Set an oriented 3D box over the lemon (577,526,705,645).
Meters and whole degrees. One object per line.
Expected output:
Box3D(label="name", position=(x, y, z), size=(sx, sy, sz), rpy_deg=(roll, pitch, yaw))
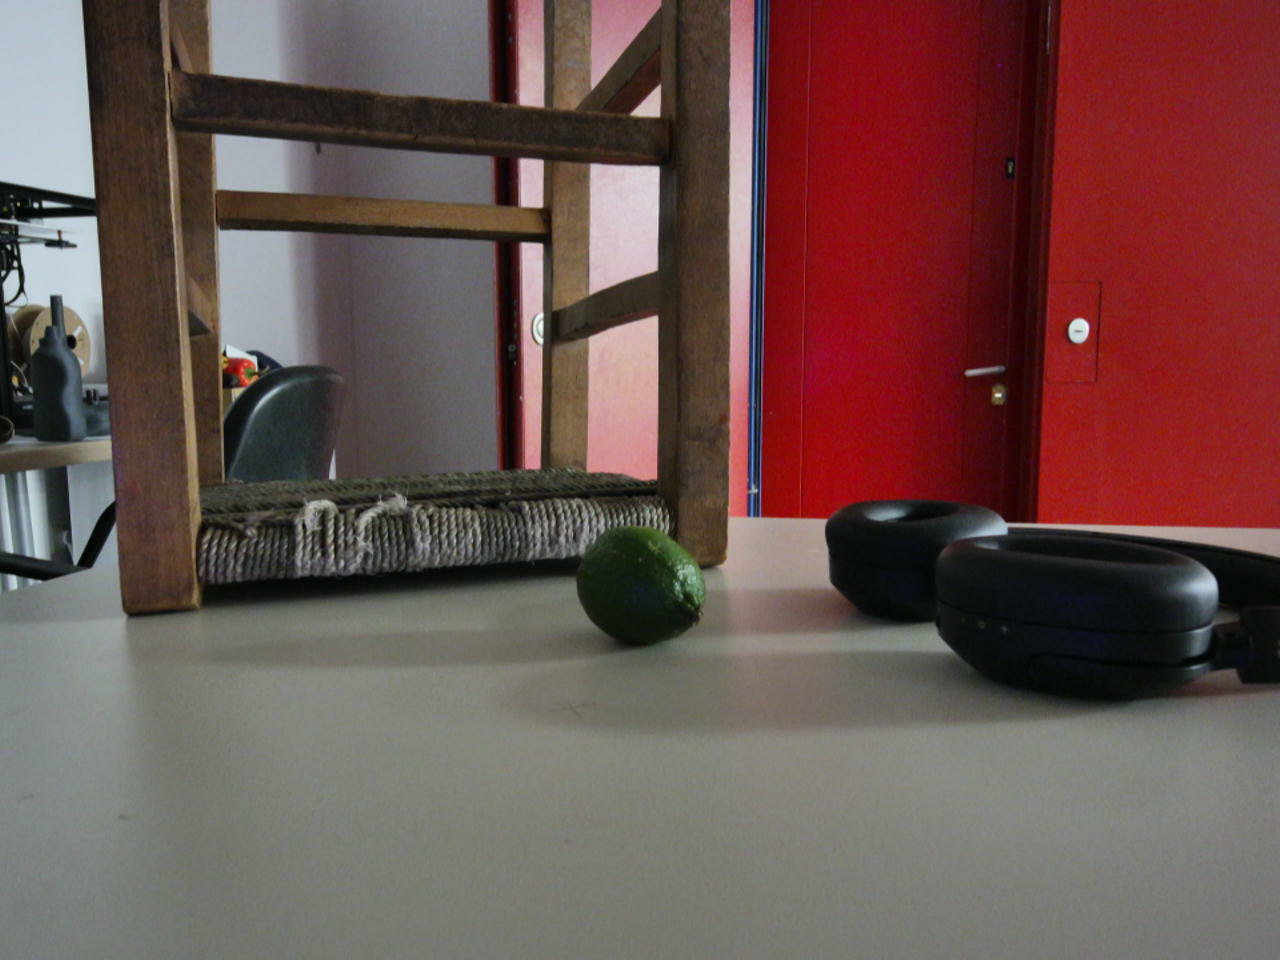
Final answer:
Box3D(label="lemon", position=(0.001, 0.046, 0.442), size=(0.057, 0.051, 0.054), rpy_deg=(1, 4, 8))
